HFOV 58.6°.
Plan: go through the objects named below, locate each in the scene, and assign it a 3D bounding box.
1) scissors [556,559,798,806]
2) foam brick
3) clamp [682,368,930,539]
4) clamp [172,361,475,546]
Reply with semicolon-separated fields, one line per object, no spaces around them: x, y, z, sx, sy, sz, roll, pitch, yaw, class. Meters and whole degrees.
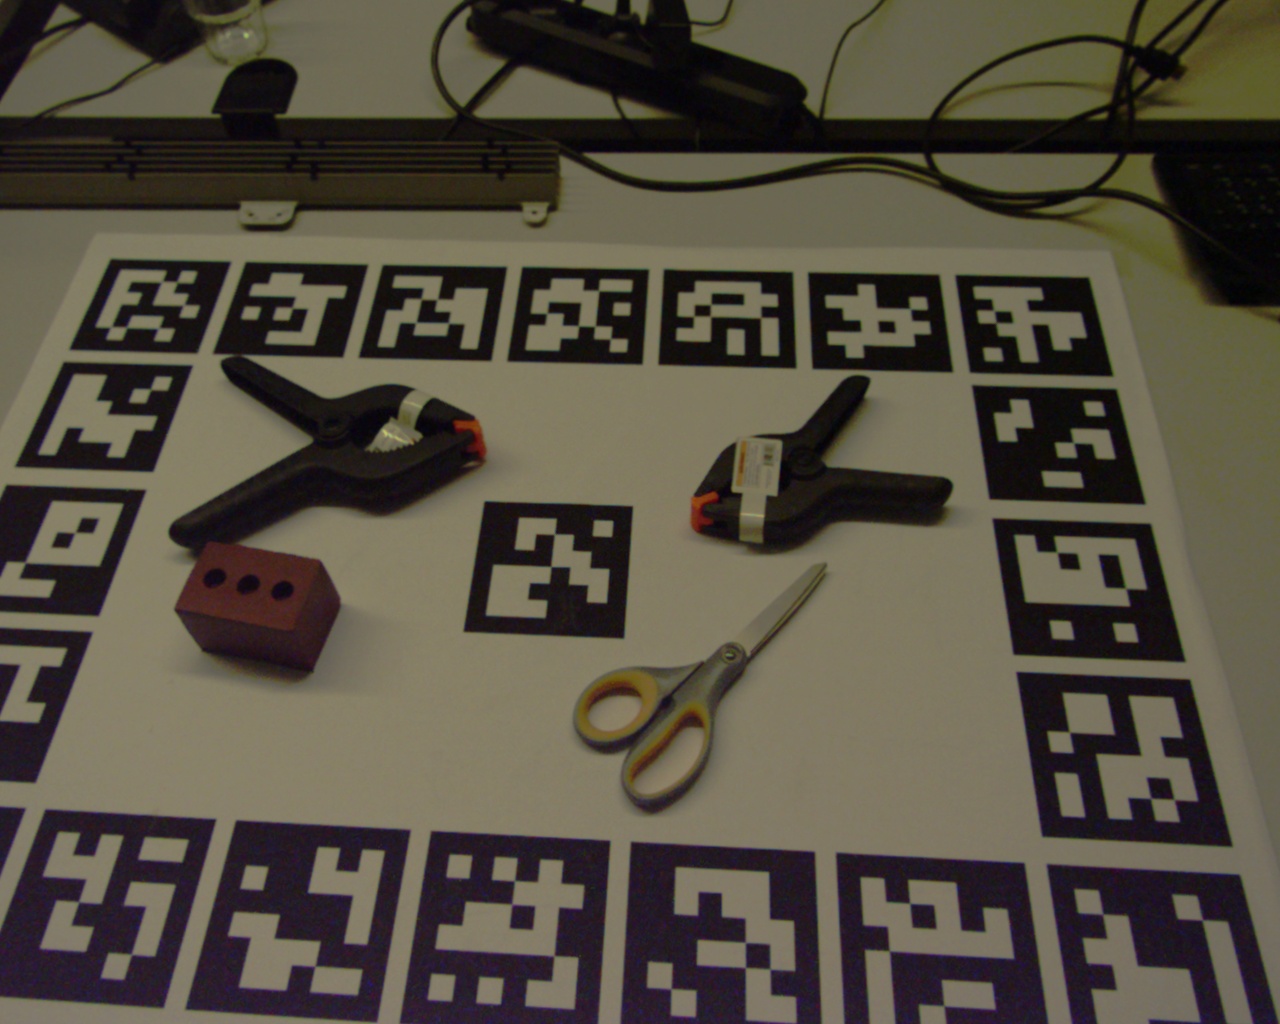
0.035;0.093;0.726;0.088;0.016;0.201;40;65;17;scissors
-0.245;0.063;0.746;0.078;0.051;0.053;6;58;12;foam brick
0.104;-0.028;0.800;0.164;0.036;0.123;-22;65;-11;clamp
-0.221;-0.047;0.824;0.203;0.036;0.166;-1;53;1;clamp
